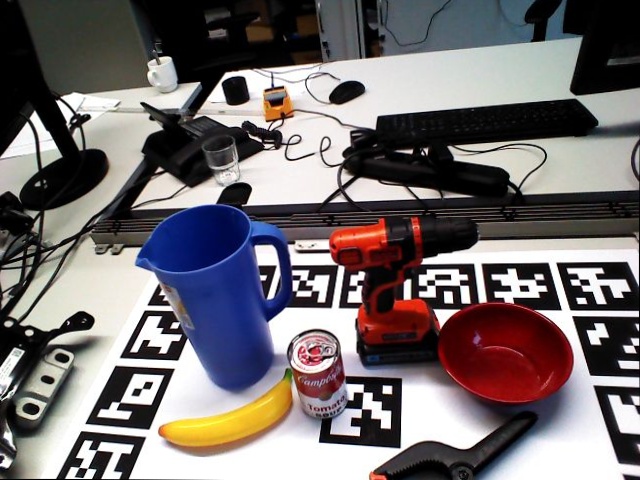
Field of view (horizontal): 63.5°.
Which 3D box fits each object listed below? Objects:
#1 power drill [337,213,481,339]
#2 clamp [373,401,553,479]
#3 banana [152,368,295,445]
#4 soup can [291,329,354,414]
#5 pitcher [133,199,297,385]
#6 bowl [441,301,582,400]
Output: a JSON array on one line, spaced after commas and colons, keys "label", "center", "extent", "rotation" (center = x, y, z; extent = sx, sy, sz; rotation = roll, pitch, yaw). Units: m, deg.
[{"label": "power drill", "center": [0.123, 0.046, 0.665], "extent": [0.185, 0.187, 0.057], "rotation": [-5, 40, 8]}, {"label": "clamp", "center": [0.159, 0.250, 0.549], "extent": [0.203, 0.037, 0.164], "rotation": [-4, 44, 10]}, {"label": "banana", "center": [-0.117, 0.224, 0.667], "extent": [0.197, 0.039, 0.074], "rotation": [-18, 31, -9]}, {"label": "soup can", "center": [0.005, 0.161, 0.657], "extent": [0.068, 0.102, 0.067], "rotation": [-8, 31, 4]}, {"label": "pitcher", "center": [-0.117, 0.072, 0.683], "extent": [0.189, 0.243, 0.133], "rotation": [-18, 37, -7]}, {"label": "bowl", "center": [0.237, 0.142, 0.652], "extent": [0.162, 0.055, 0.161], "rotation": [-8, 41, 7]}]
